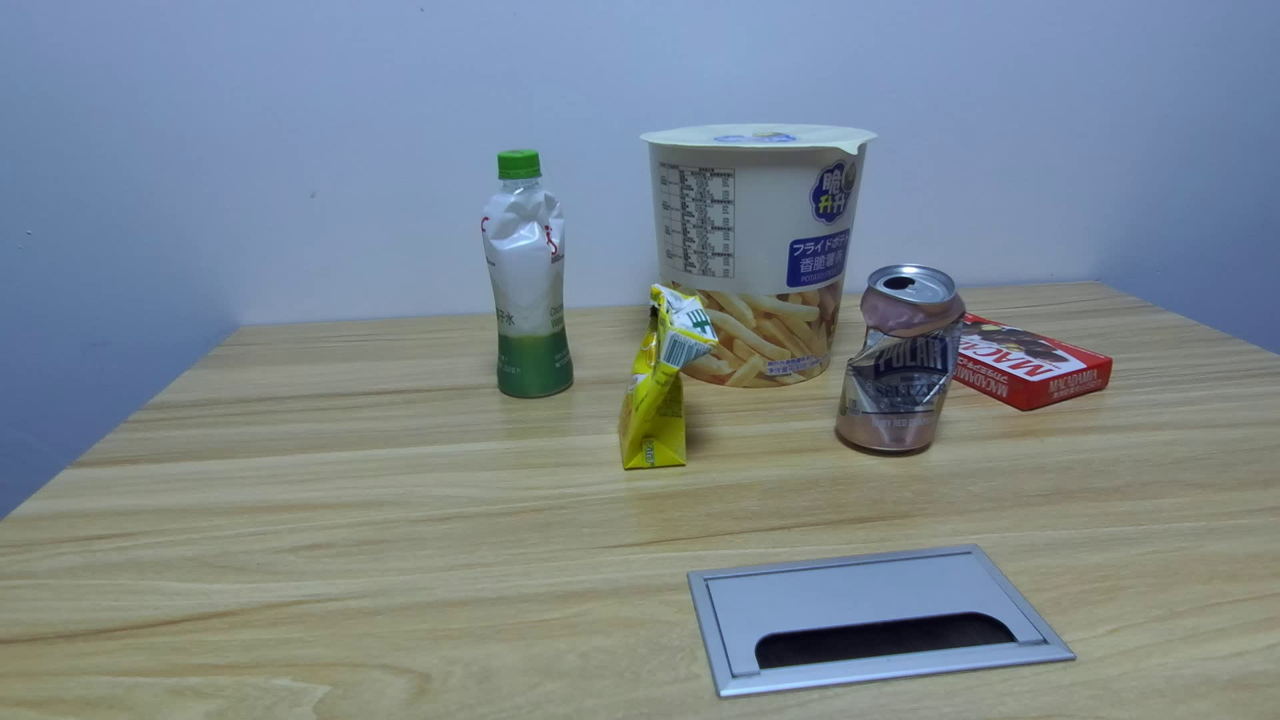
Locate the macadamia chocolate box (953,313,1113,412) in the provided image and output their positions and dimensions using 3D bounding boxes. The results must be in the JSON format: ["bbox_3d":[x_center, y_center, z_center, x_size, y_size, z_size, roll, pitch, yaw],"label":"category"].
[{"bbox_3d":[0.299,-0.011,0.626,0.106,0.028,0.182,-12,24,-22],"label":"macadamia chocolate box"}]

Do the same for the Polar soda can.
[{"bbox_3d":[0.173,0.003,0.477,0.066,0.122,0.071,20,30,32],"label":"Polar soda can"}]

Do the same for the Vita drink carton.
[{"bbox_3d":[0.019,0.012,0.474,0.042,0.108,0.087,10,25,-7],"label":"Vita drink carton"}]

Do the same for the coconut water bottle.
[{"bbox_3d":[-0.091,-0.066,0.561,0.069,0.186,0.069,-2,20,1],"label":"coconut water bottle"}]

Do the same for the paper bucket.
[{"bbox_3d":[0.096,-0.094,0.608,0.198,0.194,0.198,-1,23,1],"label":"paper bucket"}]
